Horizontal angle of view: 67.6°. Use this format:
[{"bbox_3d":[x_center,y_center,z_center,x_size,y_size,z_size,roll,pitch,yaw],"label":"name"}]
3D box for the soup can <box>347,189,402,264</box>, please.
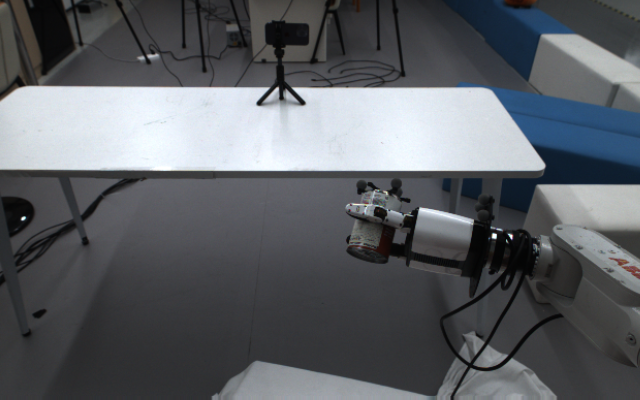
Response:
[{"bbox_3d":[0.089,0.042,0.769,0.067,0.067,0.101,12,70,14],"label":"soup can"}]
